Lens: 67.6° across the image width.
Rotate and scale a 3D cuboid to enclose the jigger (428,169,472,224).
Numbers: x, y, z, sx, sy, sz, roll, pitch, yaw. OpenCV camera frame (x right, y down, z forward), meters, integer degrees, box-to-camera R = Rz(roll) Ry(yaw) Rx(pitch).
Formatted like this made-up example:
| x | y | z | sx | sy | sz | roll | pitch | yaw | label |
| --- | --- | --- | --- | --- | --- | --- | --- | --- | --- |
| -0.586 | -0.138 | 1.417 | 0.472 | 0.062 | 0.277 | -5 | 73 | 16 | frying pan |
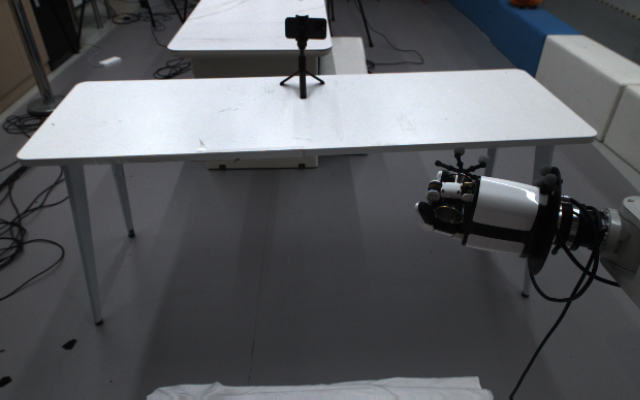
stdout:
| x | y | z | sx | sy | sz | roll | pitch | yaw | label |
| --- | --- | --- | --- | --- | --- | --- | --- | --- | --- |
| 0.206 | -0.008 | 0.738 | 0.043 | 0.043 | 0.071 | 16 | 59 | 19 | jigger |
